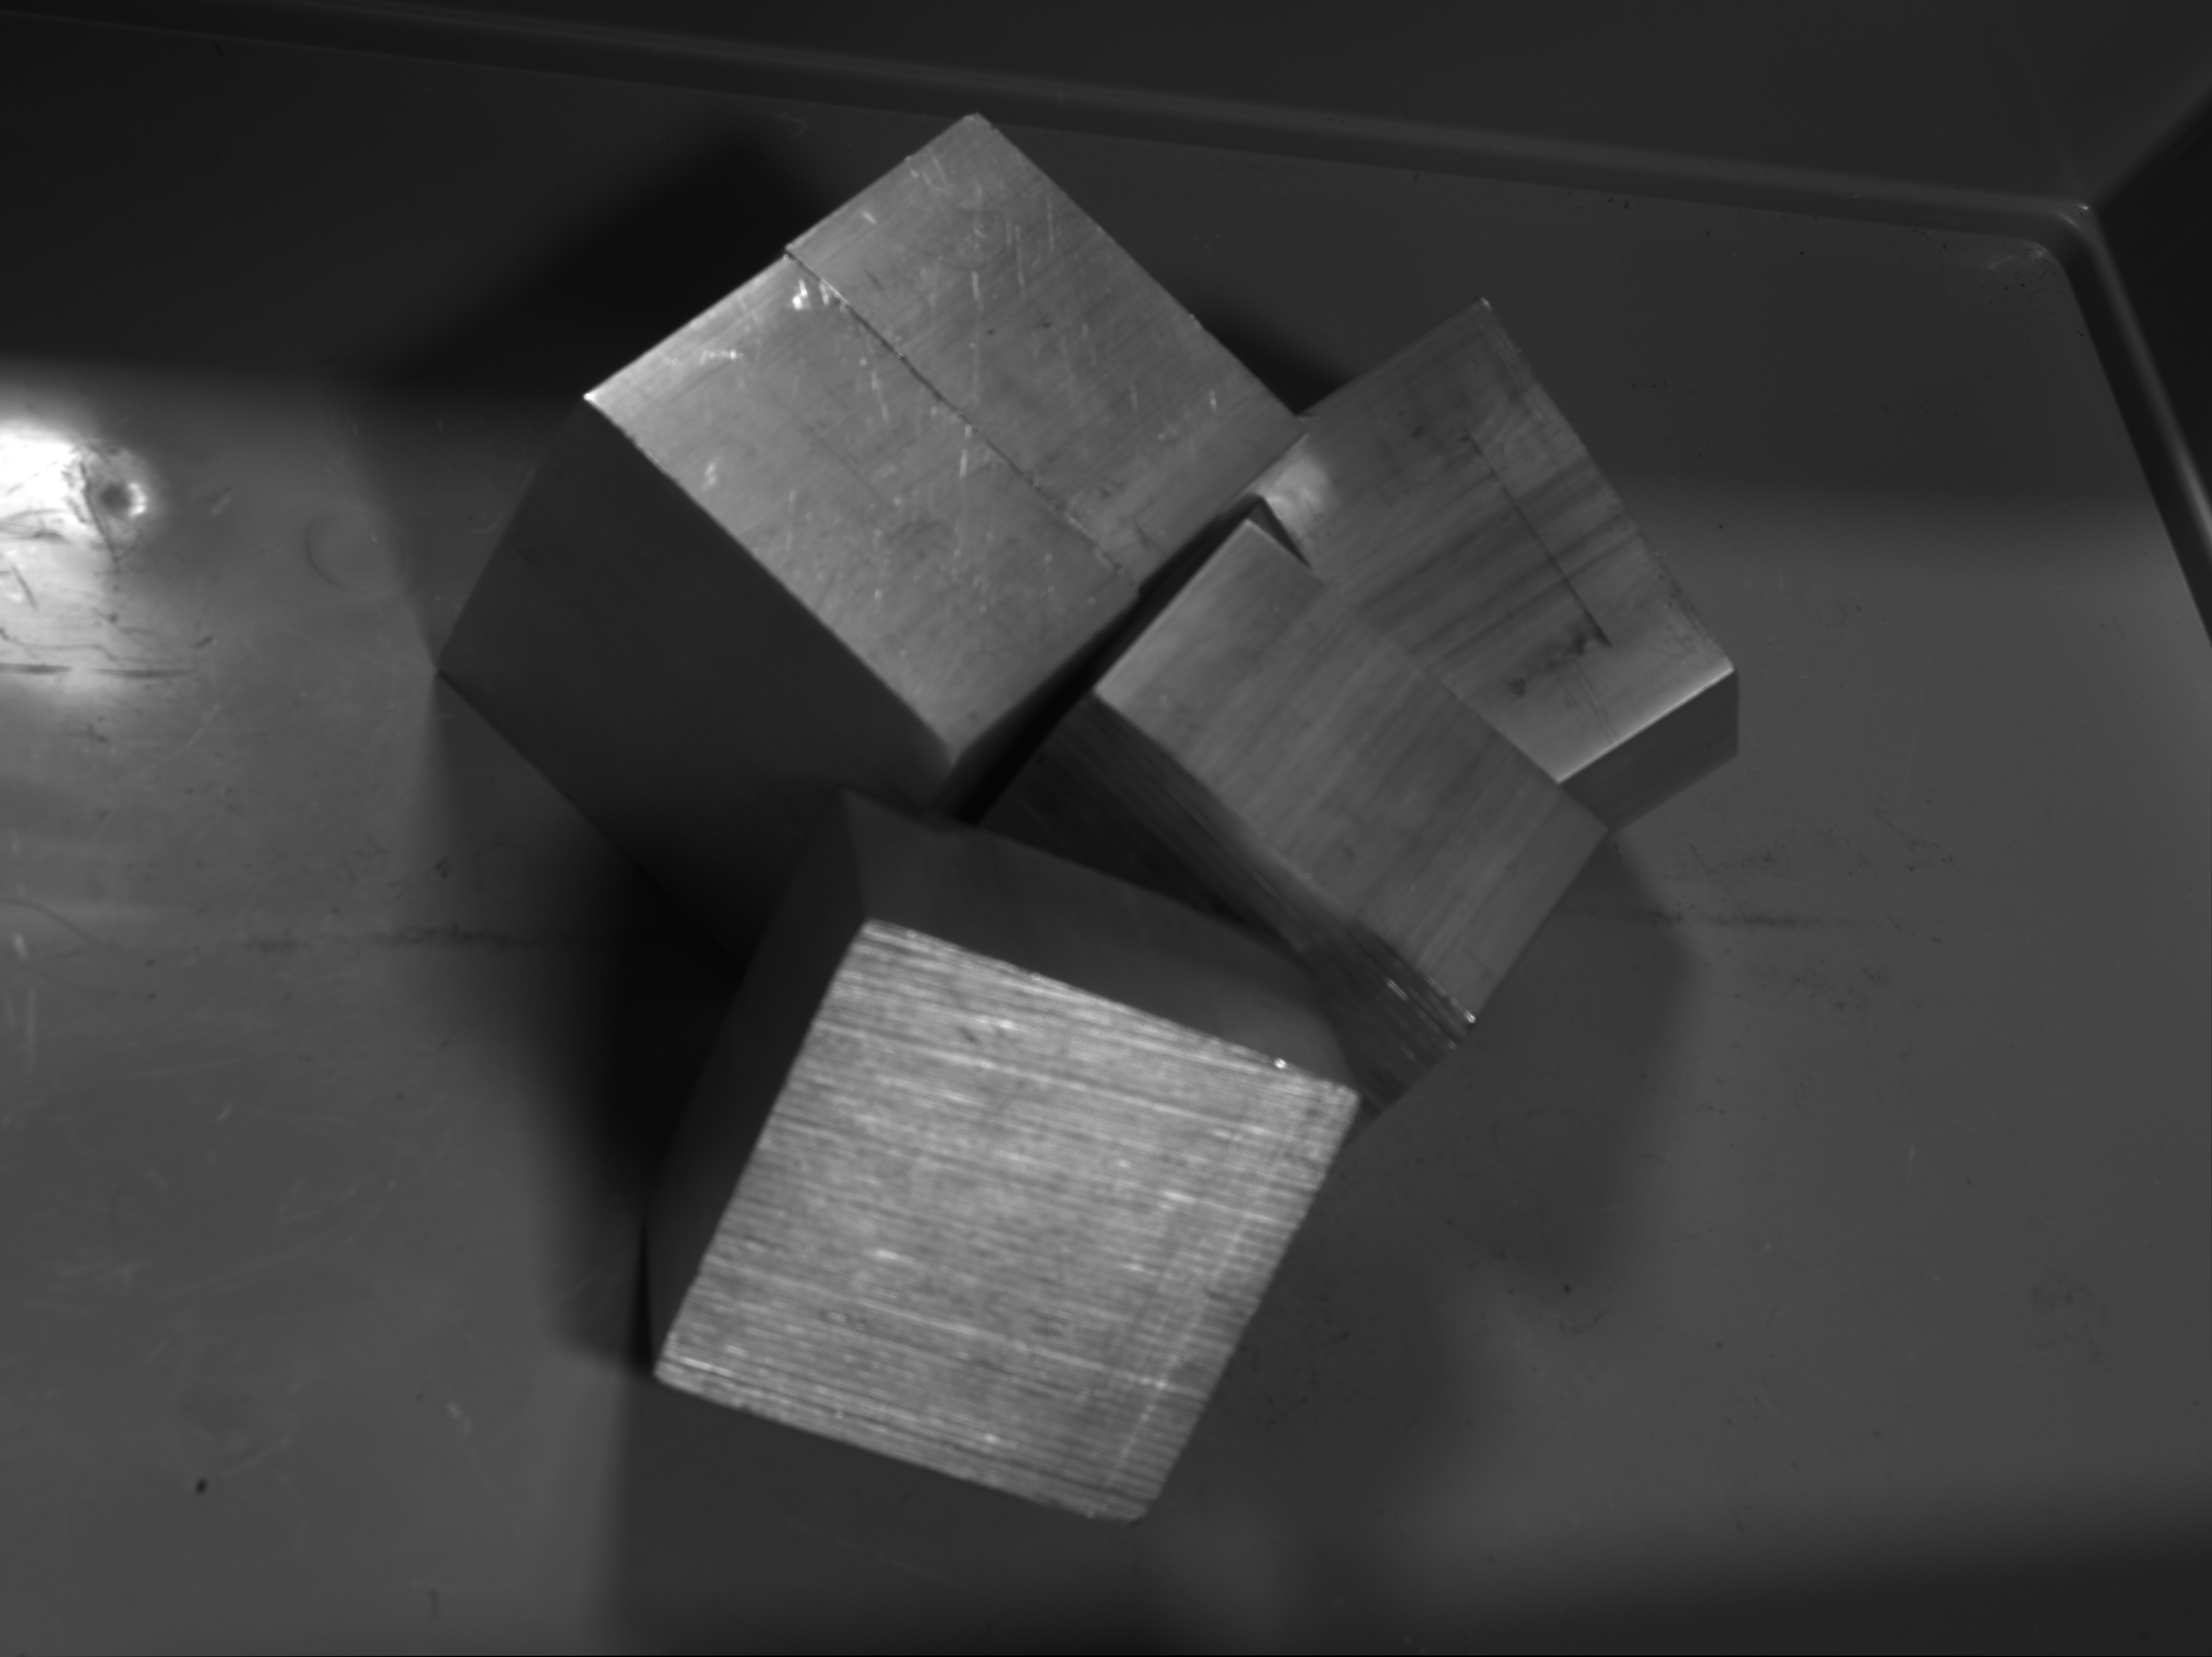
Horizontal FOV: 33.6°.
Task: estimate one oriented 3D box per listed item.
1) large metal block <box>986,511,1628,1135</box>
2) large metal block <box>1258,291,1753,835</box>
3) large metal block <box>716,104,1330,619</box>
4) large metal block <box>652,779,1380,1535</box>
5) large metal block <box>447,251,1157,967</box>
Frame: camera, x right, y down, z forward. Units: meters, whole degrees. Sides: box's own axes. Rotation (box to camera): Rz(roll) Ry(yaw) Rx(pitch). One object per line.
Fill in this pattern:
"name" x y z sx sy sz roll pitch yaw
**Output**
"large metal block" 0.026 0.008 0.611 0.080 0.080 0.050 41 51 0
"large metal block" 0.073 -0.039 0.658 0.050 0.080 0.080 -33 77 3
"large metal block" -0.022 -0.061 0.629 0.080 0.080 0.050 44 51 2
"large metal block" -0.016 0.050 0.556 0.080 0.080 0.050 20 19 -16
"large metal block" -0.051 -0.031 0.596 0.080 0.080 0.050 44 51 3
